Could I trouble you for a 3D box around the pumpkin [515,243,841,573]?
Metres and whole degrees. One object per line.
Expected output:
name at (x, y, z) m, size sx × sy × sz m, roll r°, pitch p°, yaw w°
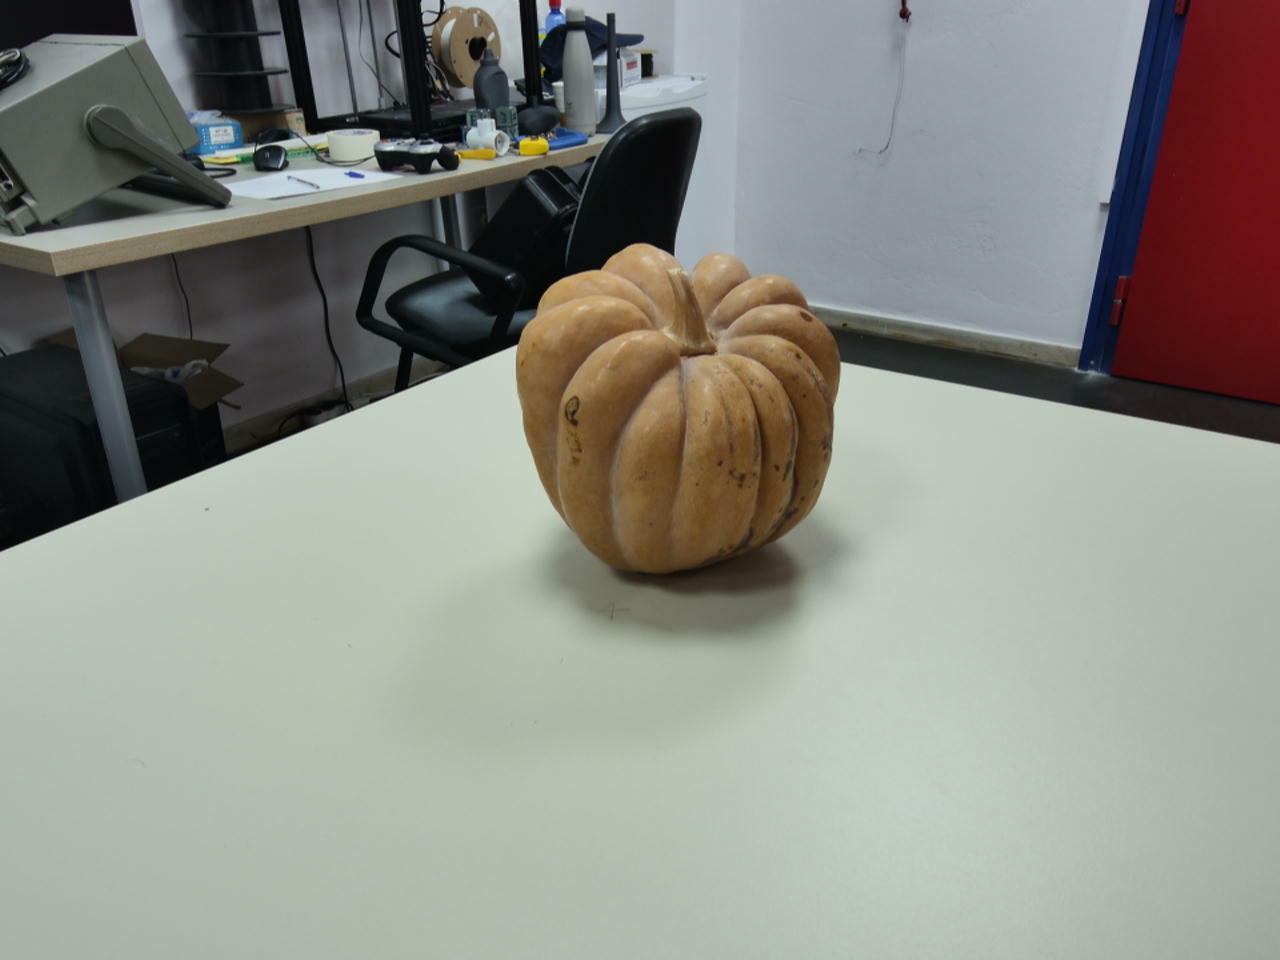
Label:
pumpkin at (0.021, -0.041, 0.587) m, size 0.199 × 0.177 × 0.198 m, roll -1°, pitch 25°, yaw 0°
